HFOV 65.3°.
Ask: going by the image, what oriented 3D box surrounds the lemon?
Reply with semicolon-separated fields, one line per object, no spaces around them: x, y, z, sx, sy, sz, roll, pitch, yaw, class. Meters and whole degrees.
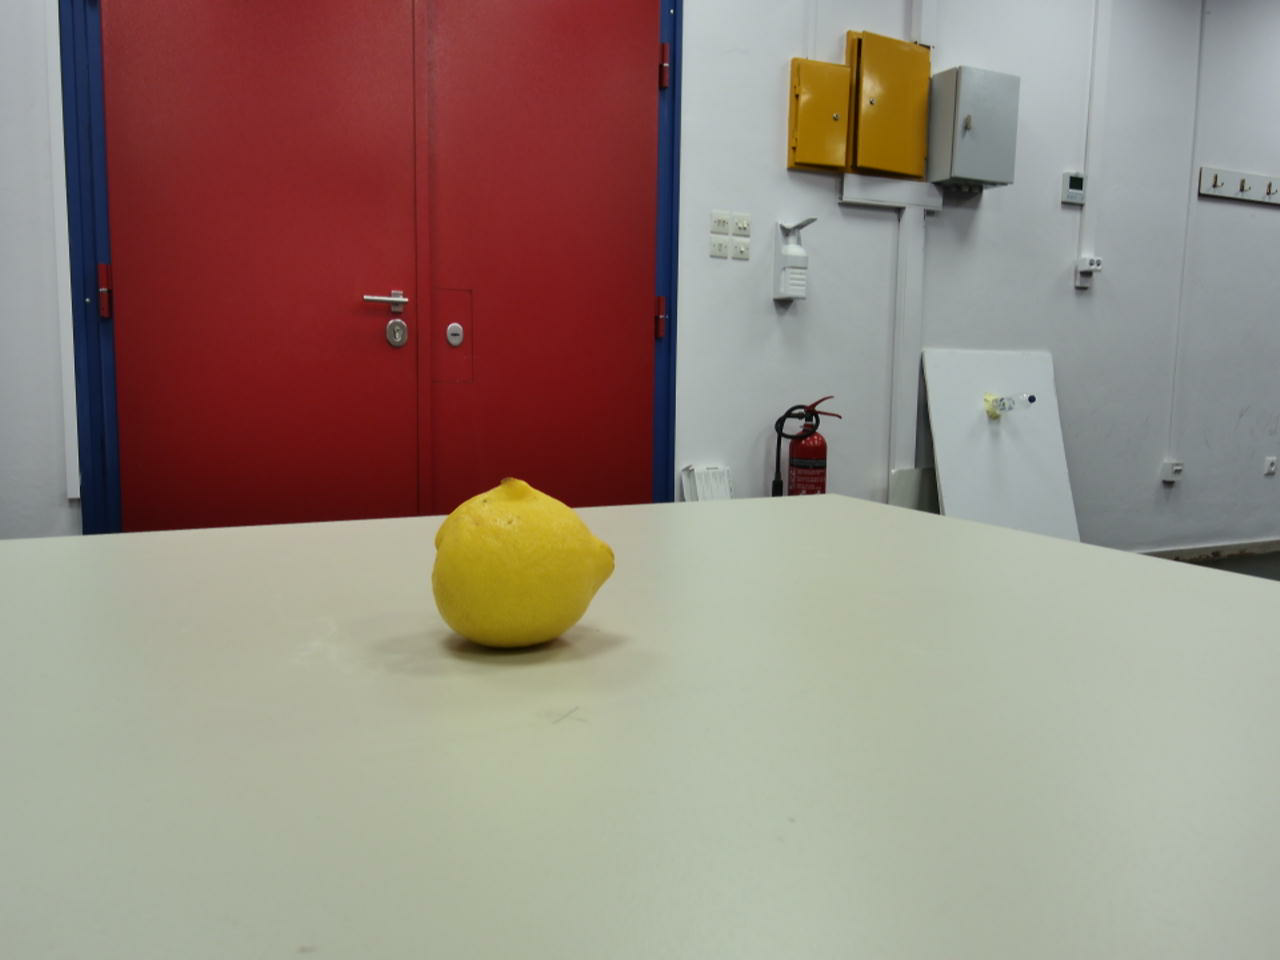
-0.054;0.034;0.426;0.071;0.071;0.070;2;5;30;lemon
